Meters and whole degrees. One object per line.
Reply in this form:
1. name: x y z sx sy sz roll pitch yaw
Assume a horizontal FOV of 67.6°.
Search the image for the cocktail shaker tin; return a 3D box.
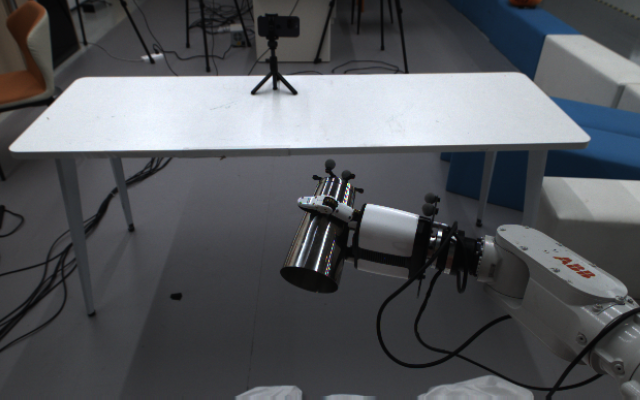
1. cocktail shaker tin: 0.006 0.050 0.763 0.093 0.093 0.170 11 60 12
